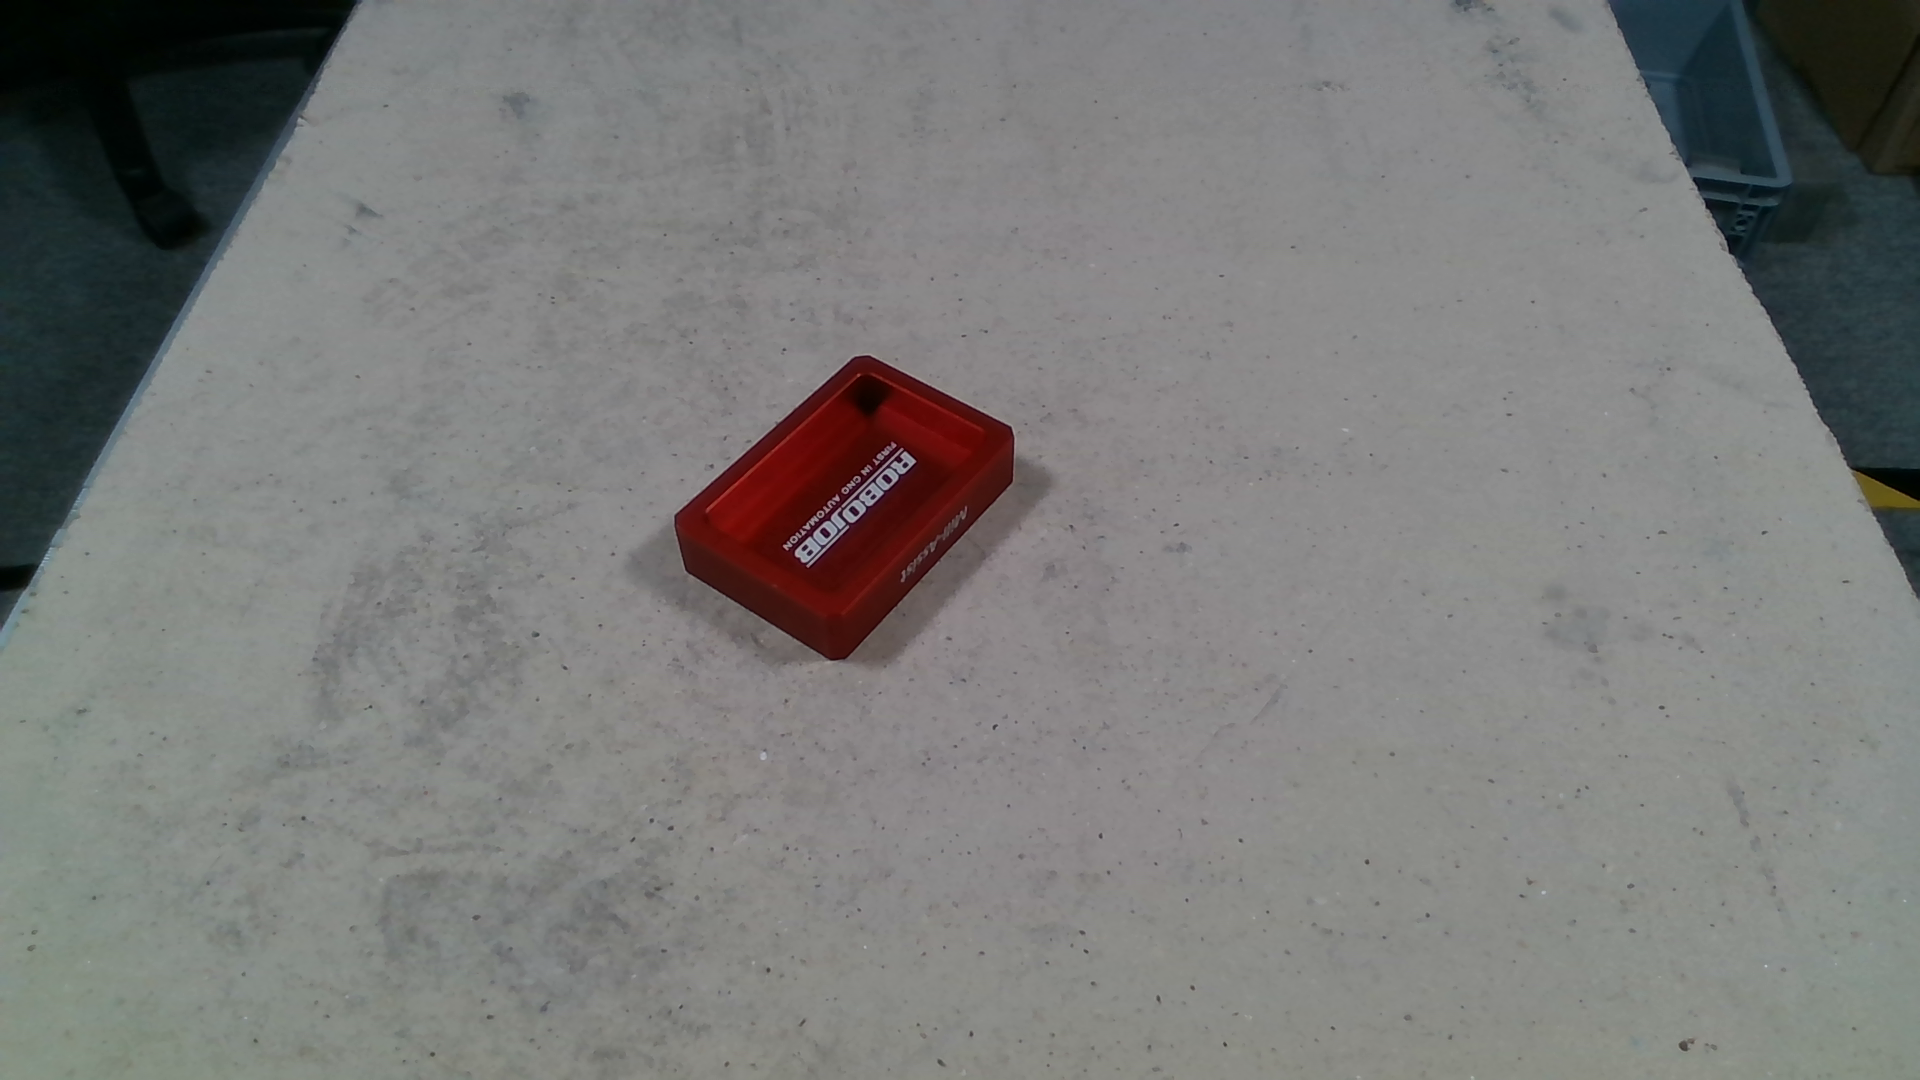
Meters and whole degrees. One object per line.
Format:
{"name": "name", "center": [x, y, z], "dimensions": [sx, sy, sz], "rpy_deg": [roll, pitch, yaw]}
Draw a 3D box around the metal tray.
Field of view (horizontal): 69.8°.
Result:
{"name": "metal tray", "center": [-0.048, -0.018, 0.599], "dimensions": [0.090, 0.030, 0.130], "rpy_deg": [29, 56, 22]}
